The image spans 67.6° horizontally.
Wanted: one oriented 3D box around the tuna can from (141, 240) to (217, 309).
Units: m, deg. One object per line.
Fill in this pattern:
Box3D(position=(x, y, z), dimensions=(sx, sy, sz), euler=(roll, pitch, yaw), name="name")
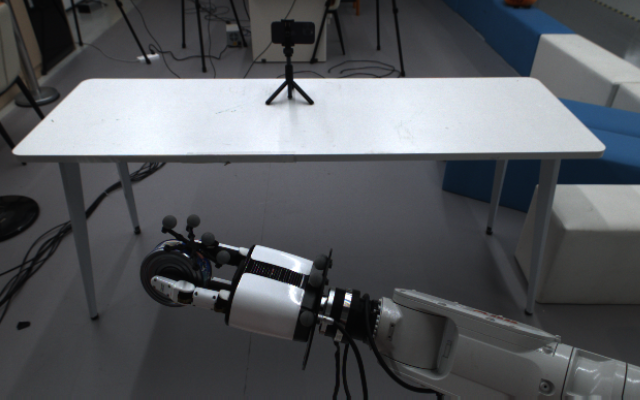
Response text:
Box3D(position=(-0.185, 0.096, 0.627), dimensions=(0.085, 0.085, 0.034), euler=(6, 19, 6), name="tuna can")
